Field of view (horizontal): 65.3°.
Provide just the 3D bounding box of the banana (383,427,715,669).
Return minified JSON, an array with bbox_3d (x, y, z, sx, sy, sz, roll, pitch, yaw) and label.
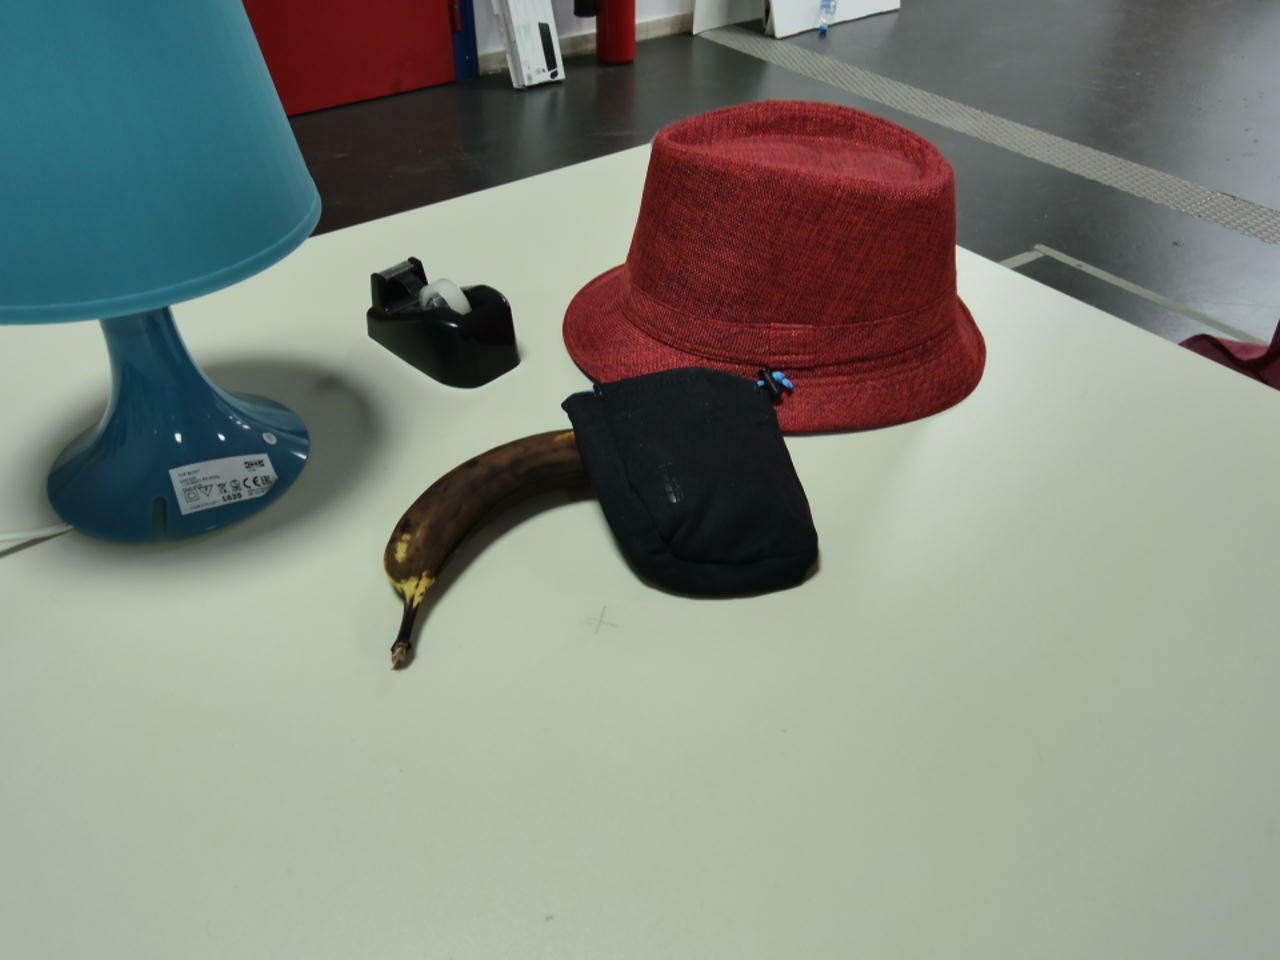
[{"bbox_3d":[-0.057,0.013,0.498,0.188,0.034,0.091,-24,44,-29],"label":"banana"}]
